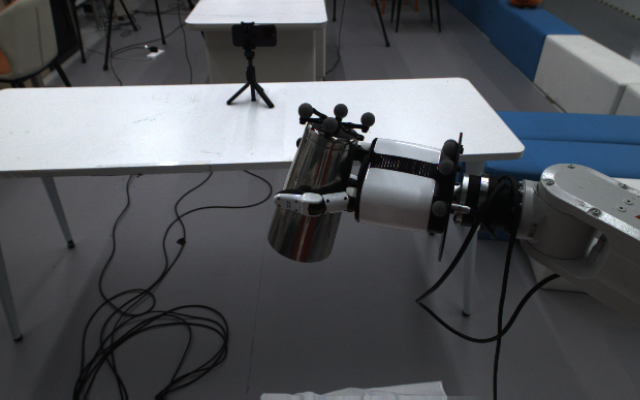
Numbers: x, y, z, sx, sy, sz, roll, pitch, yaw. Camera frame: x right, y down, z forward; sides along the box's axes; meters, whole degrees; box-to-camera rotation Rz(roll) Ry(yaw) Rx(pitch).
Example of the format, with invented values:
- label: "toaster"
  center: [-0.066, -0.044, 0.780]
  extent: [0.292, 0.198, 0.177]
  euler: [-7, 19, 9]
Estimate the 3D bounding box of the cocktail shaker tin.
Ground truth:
- label: "cocktail shaker tin"
  center: [-0.003, -0.016, 0.625]
  extent: [0.093, 0.170, 0.093]
  euler: [12, 29, -7]
